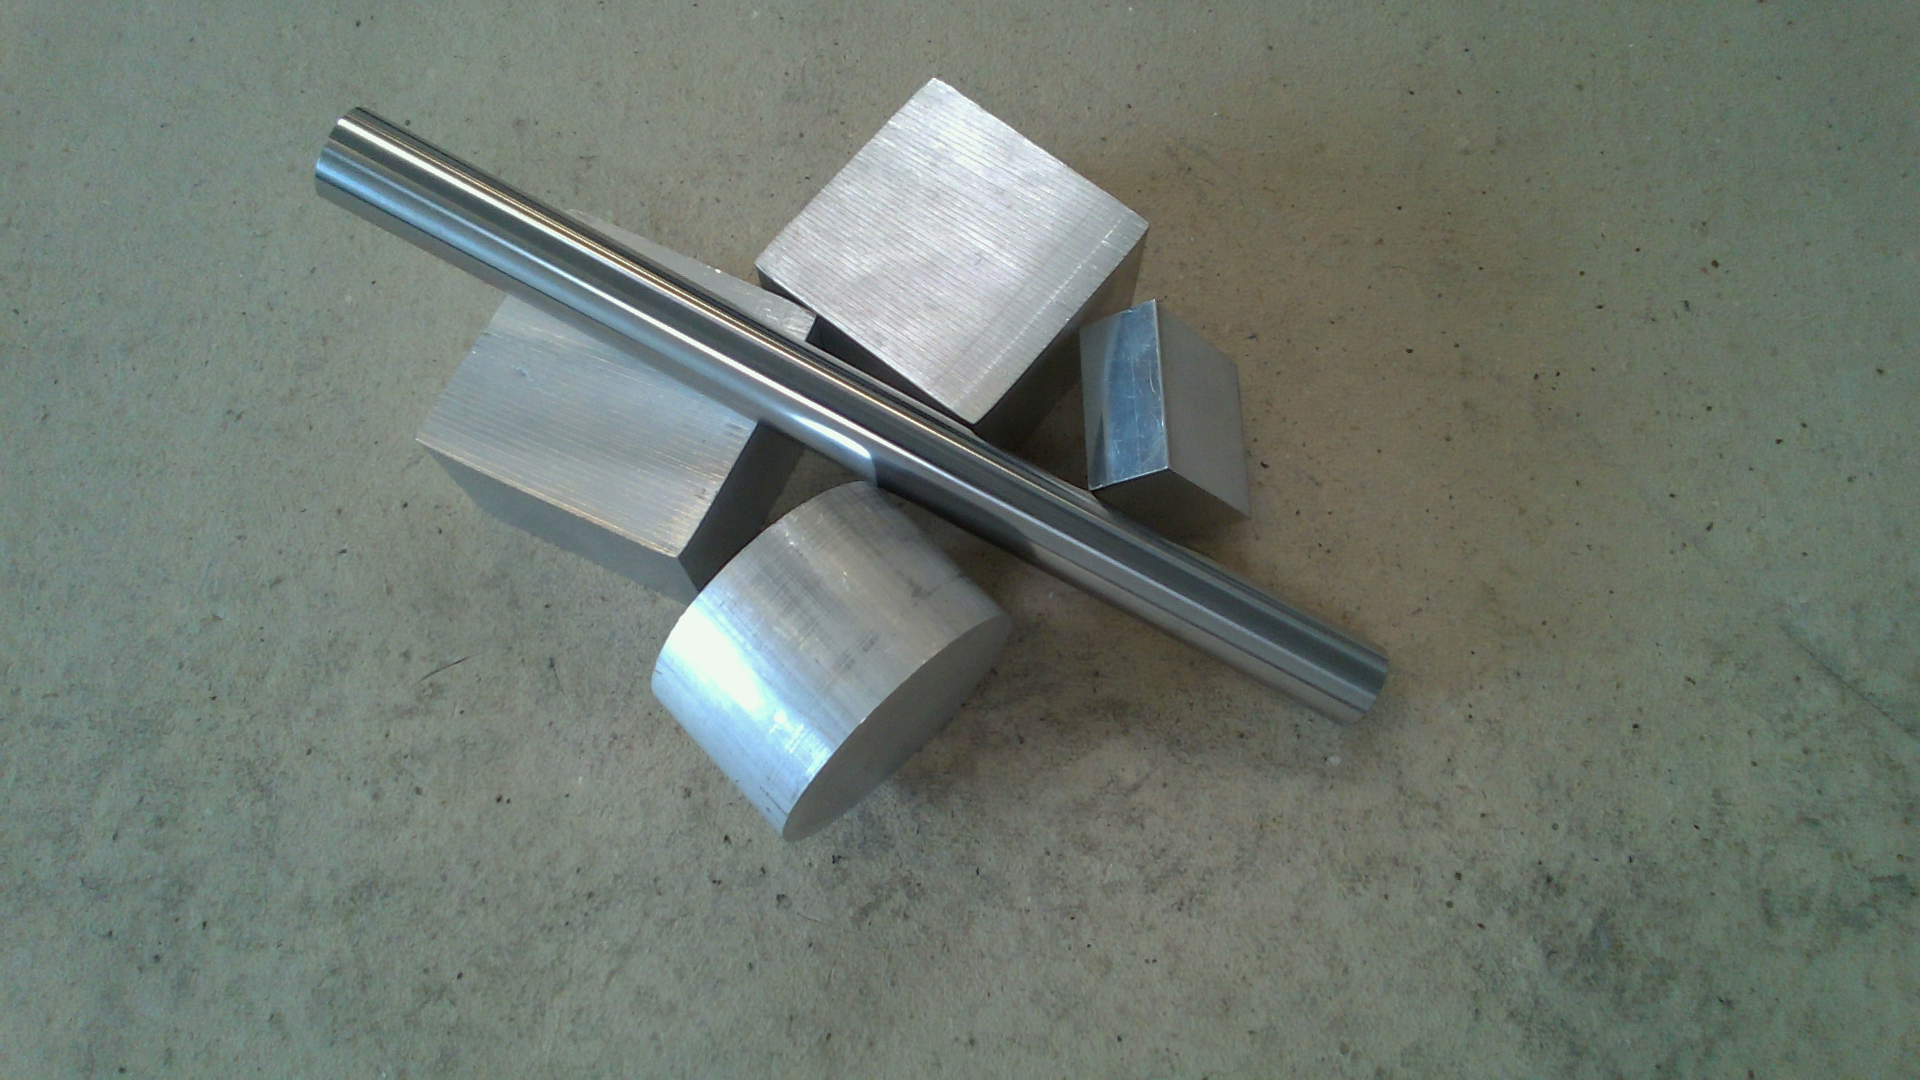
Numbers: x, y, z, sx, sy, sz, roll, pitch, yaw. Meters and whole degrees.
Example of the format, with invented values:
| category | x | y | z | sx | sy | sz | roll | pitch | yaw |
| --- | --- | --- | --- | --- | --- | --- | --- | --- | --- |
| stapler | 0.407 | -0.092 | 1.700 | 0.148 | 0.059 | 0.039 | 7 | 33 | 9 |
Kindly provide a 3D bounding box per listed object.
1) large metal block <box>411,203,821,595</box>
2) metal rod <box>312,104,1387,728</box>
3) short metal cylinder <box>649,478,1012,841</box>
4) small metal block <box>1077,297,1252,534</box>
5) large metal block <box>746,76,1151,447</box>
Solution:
| category | x | y | z | sx | sy | sz | roll | pitch | yaw |
| --- | --- | --- | --- | --- | --- | --- | --- | --- | --- |
| large metal block | -0.092 | -0.037 | 0.394 | 0.080 | 0.050 | 0.080 | 24 | 72 | 8 |
| metal rod | -0.021 | -0.028 | 0.361 | 0.300 | 0.025 | 0.025 | 27 | 72 | -8 |
| short metal cylinder | -0.032 | 0.031 | 0.354 | 0.080 | 0.080 | 0.050 | -42 | 75 | -14 |
| small metal block | 0.058 | -0.033 | 0.391 | 0.025 | 0.050 | 0.050 | -15 | 66 | 33 |
| large metal block | -0.003 | -0.074 | 0.406 | 0.080 | 0.050 | 0.080 | 38 | 74 | 13 |
